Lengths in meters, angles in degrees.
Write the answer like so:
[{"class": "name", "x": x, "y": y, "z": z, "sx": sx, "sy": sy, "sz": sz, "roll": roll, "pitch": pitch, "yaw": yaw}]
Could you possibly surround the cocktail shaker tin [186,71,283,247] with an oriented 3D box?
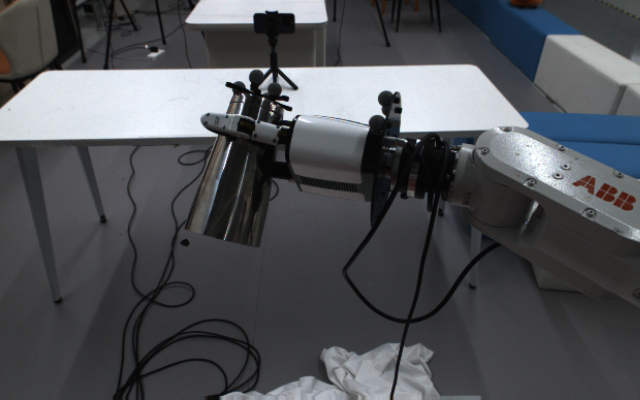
[{"class": "cocktail shaker tin", "x": -0.095, "y": -0.038, "z": 0.587, "sx": 0.093, "sy": 0.170, "sz": 0.093, "roll": 14, "pitch": -5, "yaw": 1}]
